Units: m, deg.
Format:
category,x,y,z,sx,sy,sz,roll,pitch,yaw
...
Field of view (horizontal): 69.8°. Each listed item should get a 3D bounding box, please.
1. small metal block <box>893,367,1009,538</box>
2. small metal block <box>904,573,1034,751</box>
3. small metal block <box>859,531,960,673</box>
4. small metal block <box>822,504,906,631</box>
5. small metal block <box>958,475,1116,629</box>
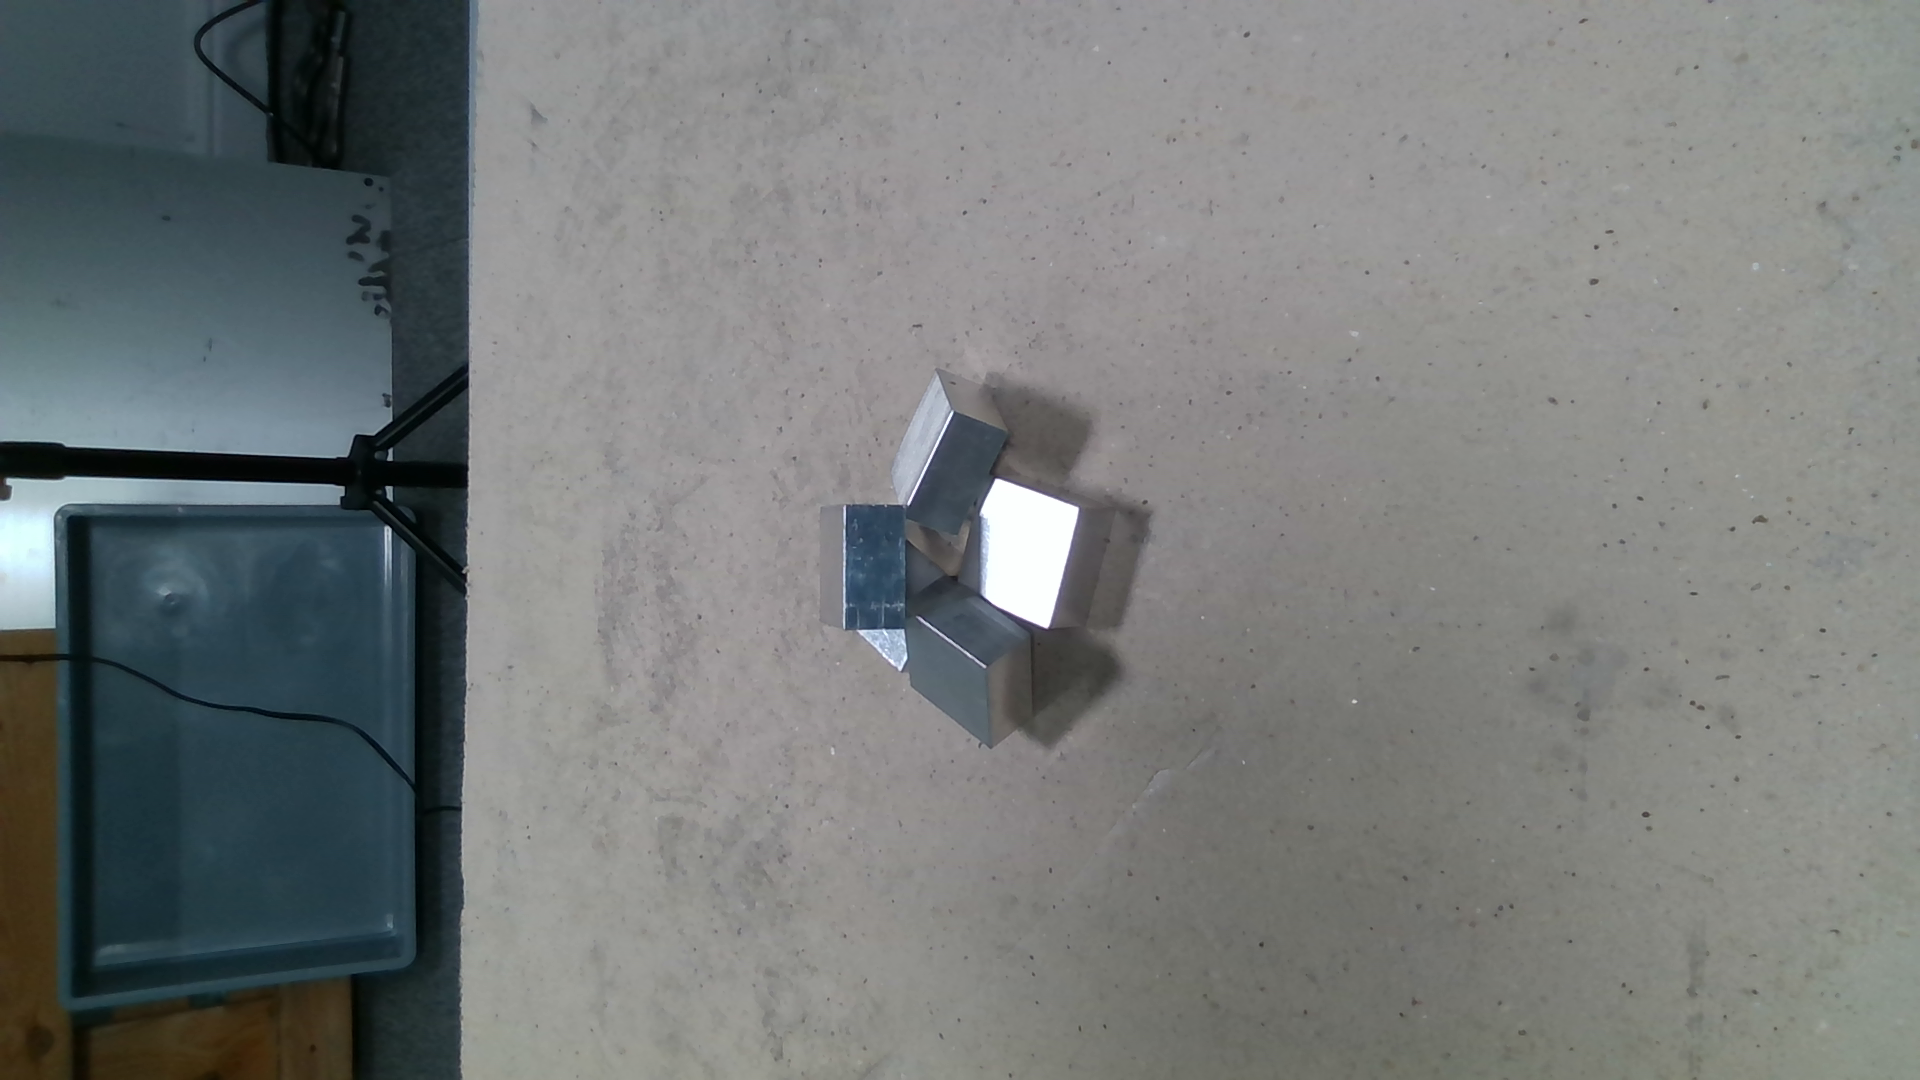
category,x,y,z,sx,sy,sz,roll,pitch,yaw
small metal block,-0.006,-0.037,0.571,0.050,0.025,0.050,-107,39,-62
small metal block,0.003,0.050,0.565,0.050,0.025,0.050,34,145,35
small metal block,-0.023,0.023,0.602,0.050,0.025,0.050,40,115,33
small metal block,-0.041,0.011,0.569,0.050,0.025,0.050,-179,89,-73
small metal block,0.030,0.003,0.557,0.050,0.025,0.050,22,105,38
